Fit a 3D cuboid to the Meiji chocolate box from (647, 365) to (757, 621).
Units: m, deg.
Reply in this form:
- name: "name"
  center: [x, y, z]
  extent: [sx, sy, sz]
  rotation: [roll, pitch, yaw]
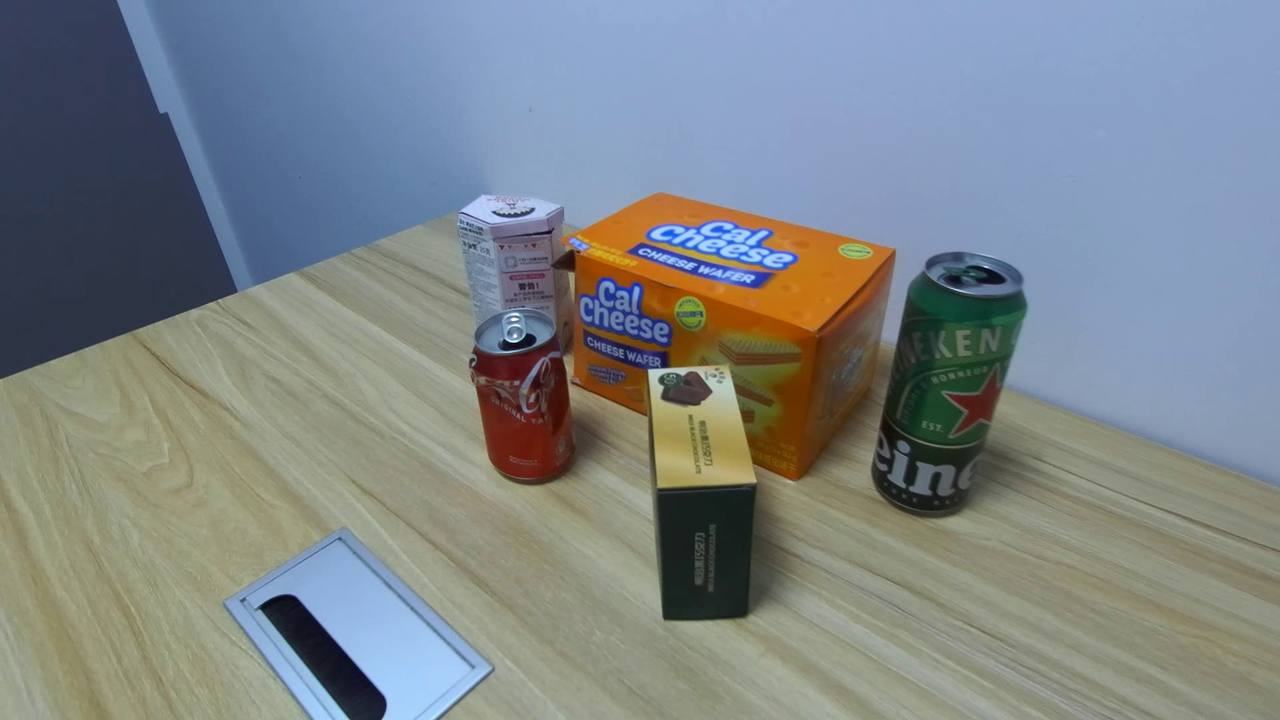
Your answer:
- name: "Meiji chocolate box"
  center: [0.035, 0.077, 0.426]
  extent: [0.056, 0.109, 0.110]
  rotation: [-3, 34, 0]

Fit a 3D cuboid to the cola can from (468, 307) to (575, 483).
- name: "cola can"
  center: [-0.082, 0.025, 0.505]
  extent: [0.066, 0.117, 0.066]
  rotation: [15, 38, 22]

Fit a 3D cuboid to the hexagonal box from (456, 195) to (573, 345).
- name: "hexagonal box"
  center: [-0.106, -0.074, 0.630]
  extent: [0.092, 0.135, 0.084]
  rotation: [-9, 34, -10]

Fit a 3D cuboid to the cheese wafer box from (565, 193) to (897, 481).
- name: "cheese wafer box"
  center: [0.065, -0.035, 0.565]
  extent: [0.226, 0.137, 0.150]
  rotation: [22, 41, 30]

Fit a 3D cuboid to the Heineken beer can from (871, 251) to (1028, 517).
- name: "Heineken beer can"
  center: [0.195, 0.019, 0.454]
  extent: [0.067, 0.169, 0.067]
  rotation: [-1, 33, 1]
